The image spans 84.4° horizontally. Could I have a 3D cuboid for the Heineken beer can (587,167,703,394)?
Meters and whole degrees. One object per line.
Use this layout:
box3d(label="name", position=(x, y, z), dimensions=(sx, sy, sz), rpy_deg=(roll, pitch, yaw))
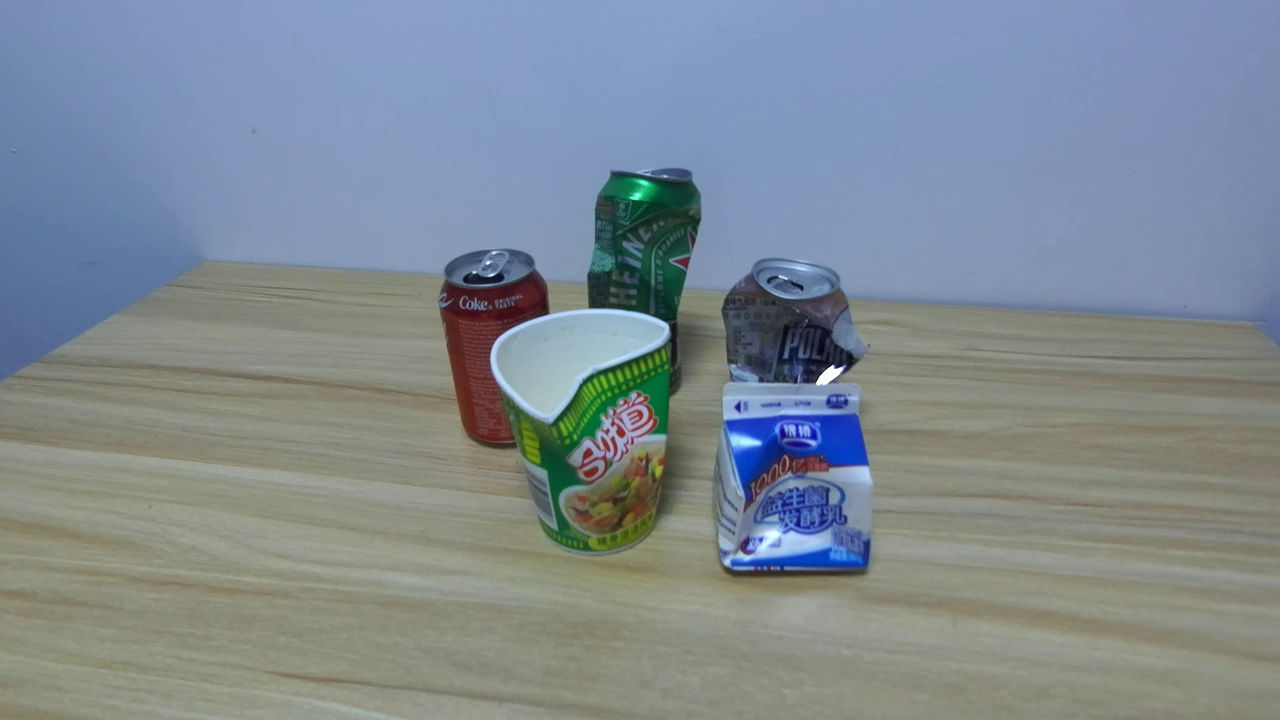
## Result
box3d(label="Heineken beer can", position=(0.002, -0.049, 0.481), dimensions=(0.067, 0.159, 0.079), rpy_deg=(7, 26, 8))

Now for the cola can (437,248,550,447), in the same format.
box3d(label="cola can", position=(-0.089, -0.008, 0.454), dimensions=(0.068, 0.120, 0.068), rpy_deg=(-2, 31, 1))

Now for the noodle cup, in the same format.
box3d(label="noodle cup", position=(-0.025, 0.040, 0.381), dimensions=(0.094, 0.109, 0.086), rpy_deg=(-18, 36, -23))

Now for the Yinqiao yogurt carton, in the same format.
box3d(label="Yinqiao yogurt carton", position=(0.078, 0.053, 0.369), dimensions=(0.077, 0.094, 0.071), rpy_deg=(0, 26, 1))

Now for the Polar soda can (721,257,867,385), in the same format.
box3d(label="Polar soda can", position=(0.096, -0.006, 0.446), dimensions=(0.074, 0.114, 0.070), rpy_deg=(-15, 39, -15))
